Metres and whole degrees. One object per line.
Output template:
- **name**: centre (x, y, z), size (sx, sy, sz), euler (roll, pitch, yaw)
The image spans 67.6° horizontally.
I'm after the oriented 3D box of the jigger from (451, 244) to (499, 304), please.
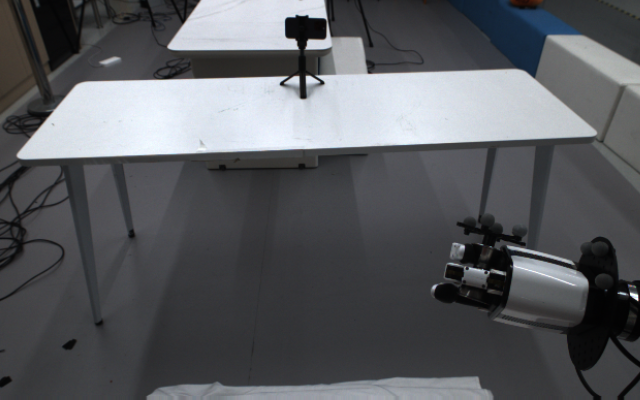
- **jigger**: centre (0.202, 0.090, 0.607), size (0.043, 0.071, 0.043), euler (19, -6, 2)
